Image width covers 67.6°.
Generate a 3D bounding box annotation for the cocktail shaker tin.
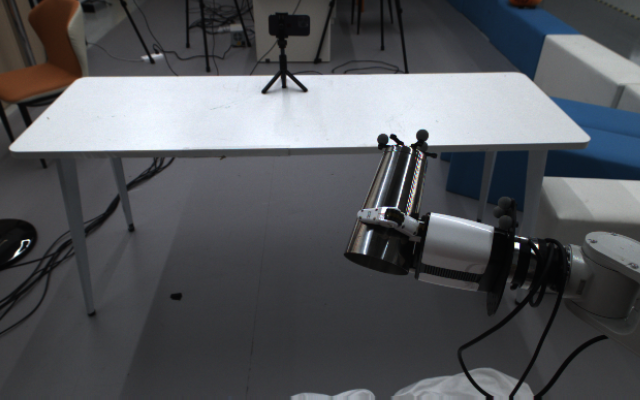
[{"bbox_3d":[0.100,0.012,0.690,0.093,0.093,0.170,14,73,17],"label":"cocktail shaker tin"}]
